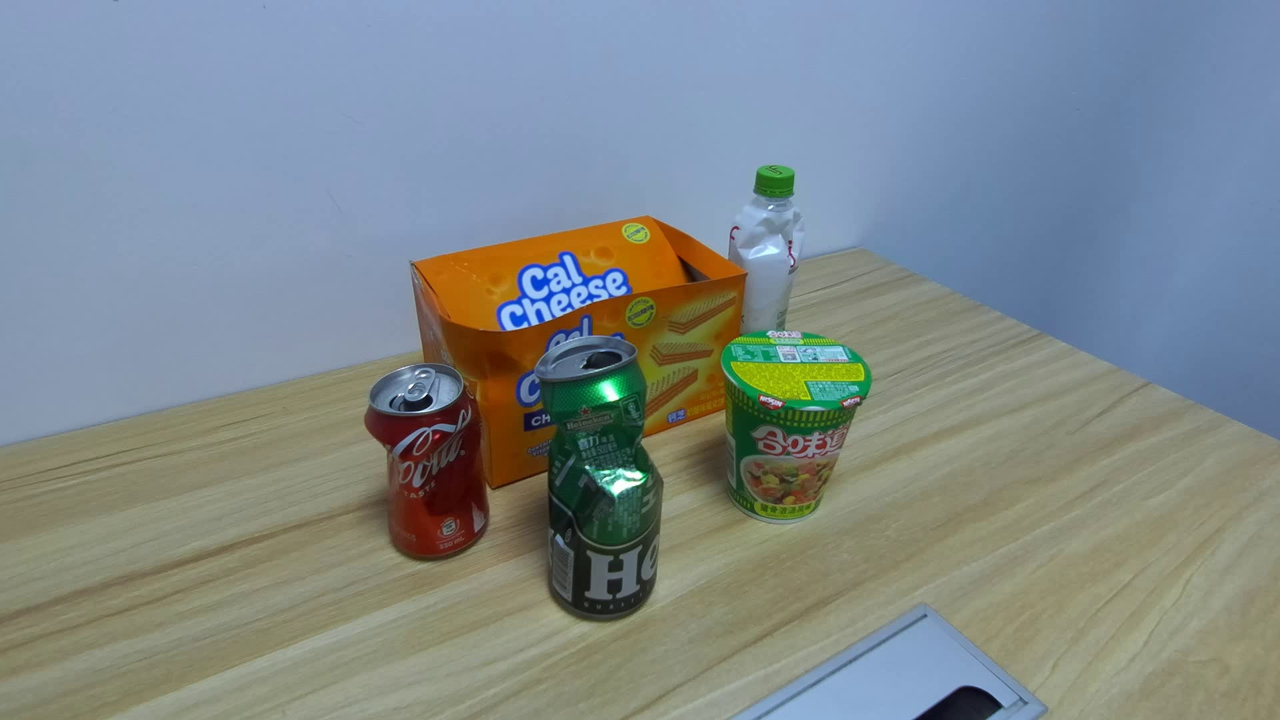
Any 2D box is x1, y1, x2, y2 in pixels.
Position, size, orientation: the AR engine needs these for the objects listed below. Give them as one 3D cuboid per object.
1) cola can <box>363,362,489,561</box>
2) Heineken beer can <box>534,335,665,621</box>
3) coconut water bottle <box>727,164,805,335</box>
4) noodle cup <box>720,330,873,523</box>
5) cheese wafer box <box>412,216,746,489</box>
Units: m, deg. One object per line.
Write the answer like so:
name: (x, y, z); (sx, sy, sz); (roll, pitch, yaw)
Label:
cola can: (-0.133, 0.063, 0.447); (0.066, 0.117, 0.066); (-22, 37, -34)
Heineken beer can: (-0.021, 0.070, 0.403); (0.078, 0.159, 0.067); (13, 29, 31)
coconut water bottle: (0.105, -0.070, 0.601); (0.069, 0.186, 0.069); (5, 29, -2)
noodle cup: (0.098, 0.049, 0.485); (0.097, 0.110, 0.097); (2, 33, -1)
cheese wafer box: (-0.049, -0.016, 0.573); (0.231, 0.132, 0.151); (-16, 37, -28)
